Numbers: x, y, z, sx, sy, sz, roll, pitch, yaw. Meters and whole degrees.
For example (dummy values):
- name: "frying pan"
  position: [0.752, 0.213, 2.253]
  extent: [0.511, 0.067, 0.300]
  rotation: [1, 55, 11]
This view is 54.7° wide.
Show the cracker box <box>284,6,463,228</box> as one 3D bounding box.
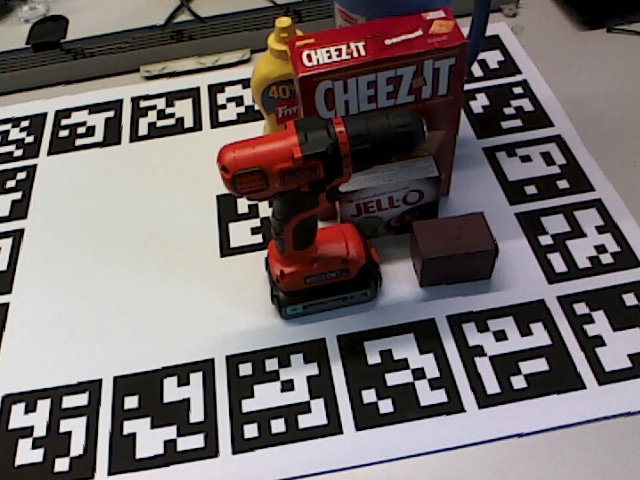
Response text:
- name: "cracker box"
  position: [0.063, -0.120, 0.662]
  extent: [0.164, 0.213, 0.072]
  rotation: [-14, 50, -1]

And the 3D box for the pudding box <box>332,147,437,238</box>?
- name: "pudding box"
  position: [0.068, -0.048, 0.673]
  extent: [0.114, 0.089, 0.039]
  rotation: [-11, 50, 1]

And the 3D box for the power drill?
- name: "power drill"
  position: [0.012, -0.032, 0.579]
  extent: [0.184, 0.186, 0.057]
  rotation: [-11, 48, -3]

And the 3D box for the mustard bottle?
- name: "mustard bottle"
  position: [-0.038, -0.179, 0.728]
  extent: [0.096, 0.191, 0.058]
  rotation: [0, 53, 7]

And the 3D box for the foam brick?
- name: "foam brick"
  position: [0.138, 0.011, 0.660]
  extent: [0.078, 0.051, 0.053]
  rotation: [-9, 53, 0]

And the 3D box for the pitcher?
- name: "pitcher"
  position: [0.092, -0.210, 0.723]
  extent: [0.189, 0.241, 0.134]
  rotation: [-7, 52, 4]
